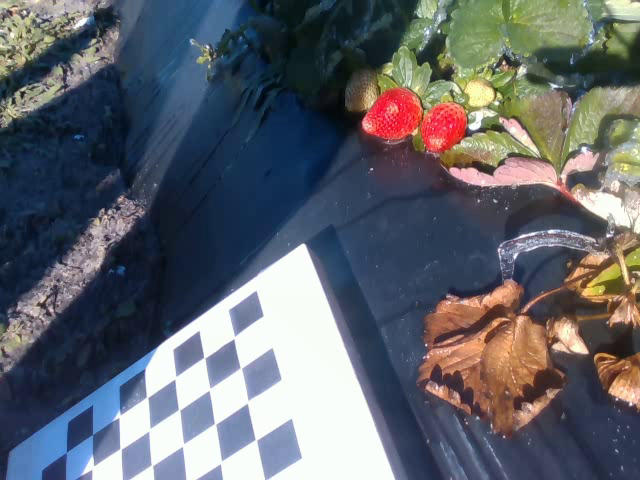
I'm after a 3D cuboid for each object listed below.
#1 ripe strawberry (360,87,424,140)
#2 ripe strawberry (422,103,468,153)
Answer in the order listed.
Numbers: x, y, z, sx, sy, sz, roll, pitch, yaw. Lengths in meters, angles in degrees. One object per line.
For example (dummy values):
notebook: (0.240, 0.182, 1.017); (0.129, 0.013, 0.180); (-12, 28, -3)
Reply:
ripe strawberry: (0.045, -0.082, 0.417); (0.036, 0.040, 0.051); (13, 32, 42)
ripe strawberry: (0.083, -0.074, 0.407); (0.036, 0.041, 0.030); (-14, -42, 31)
